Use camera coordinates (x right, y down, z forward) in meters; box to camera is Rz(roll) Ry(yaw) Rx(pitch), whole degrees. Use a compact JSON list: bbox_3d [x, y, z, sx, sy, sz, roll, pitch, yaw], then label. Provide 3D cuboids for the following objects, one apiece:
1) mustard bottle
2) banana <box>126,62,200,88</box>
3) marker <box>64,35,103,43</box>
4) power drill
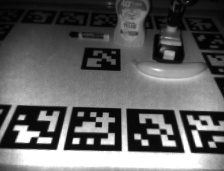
[{"bbox_3d":[0.040,-0.193,0.603,0.096,0.192,0.058,10,47,6],"label":"mustard bottle"},{"bbox_3d":[0.130,-0.025,0.560,0.197,0.039,0.074,7,48,5],"label":"banana"},{"bbox_3d":[-0.089,-0.144,0.667,0.121,0.020,0.019,3,48,-1],"label":"marker"},{"bbox_3d":[0.144,-0.154,0.550,0.057,0.188,0.184,13,45,7],"label":"power drill"}]
